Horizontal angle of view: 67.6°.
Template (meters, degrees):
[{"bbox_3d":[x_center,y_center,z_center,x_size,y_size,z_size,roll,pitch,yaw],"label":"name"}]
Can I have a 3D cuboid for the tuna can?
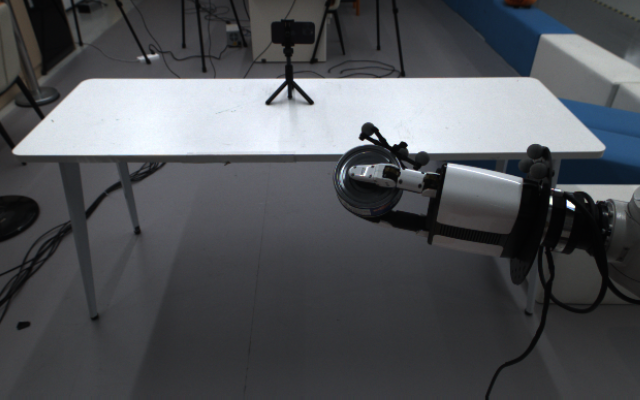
[{"bbox_3d":[0.064,-0.018,0.591,0.085,0.034,0.085,-4,69,10],"label":"tuna can"}]
